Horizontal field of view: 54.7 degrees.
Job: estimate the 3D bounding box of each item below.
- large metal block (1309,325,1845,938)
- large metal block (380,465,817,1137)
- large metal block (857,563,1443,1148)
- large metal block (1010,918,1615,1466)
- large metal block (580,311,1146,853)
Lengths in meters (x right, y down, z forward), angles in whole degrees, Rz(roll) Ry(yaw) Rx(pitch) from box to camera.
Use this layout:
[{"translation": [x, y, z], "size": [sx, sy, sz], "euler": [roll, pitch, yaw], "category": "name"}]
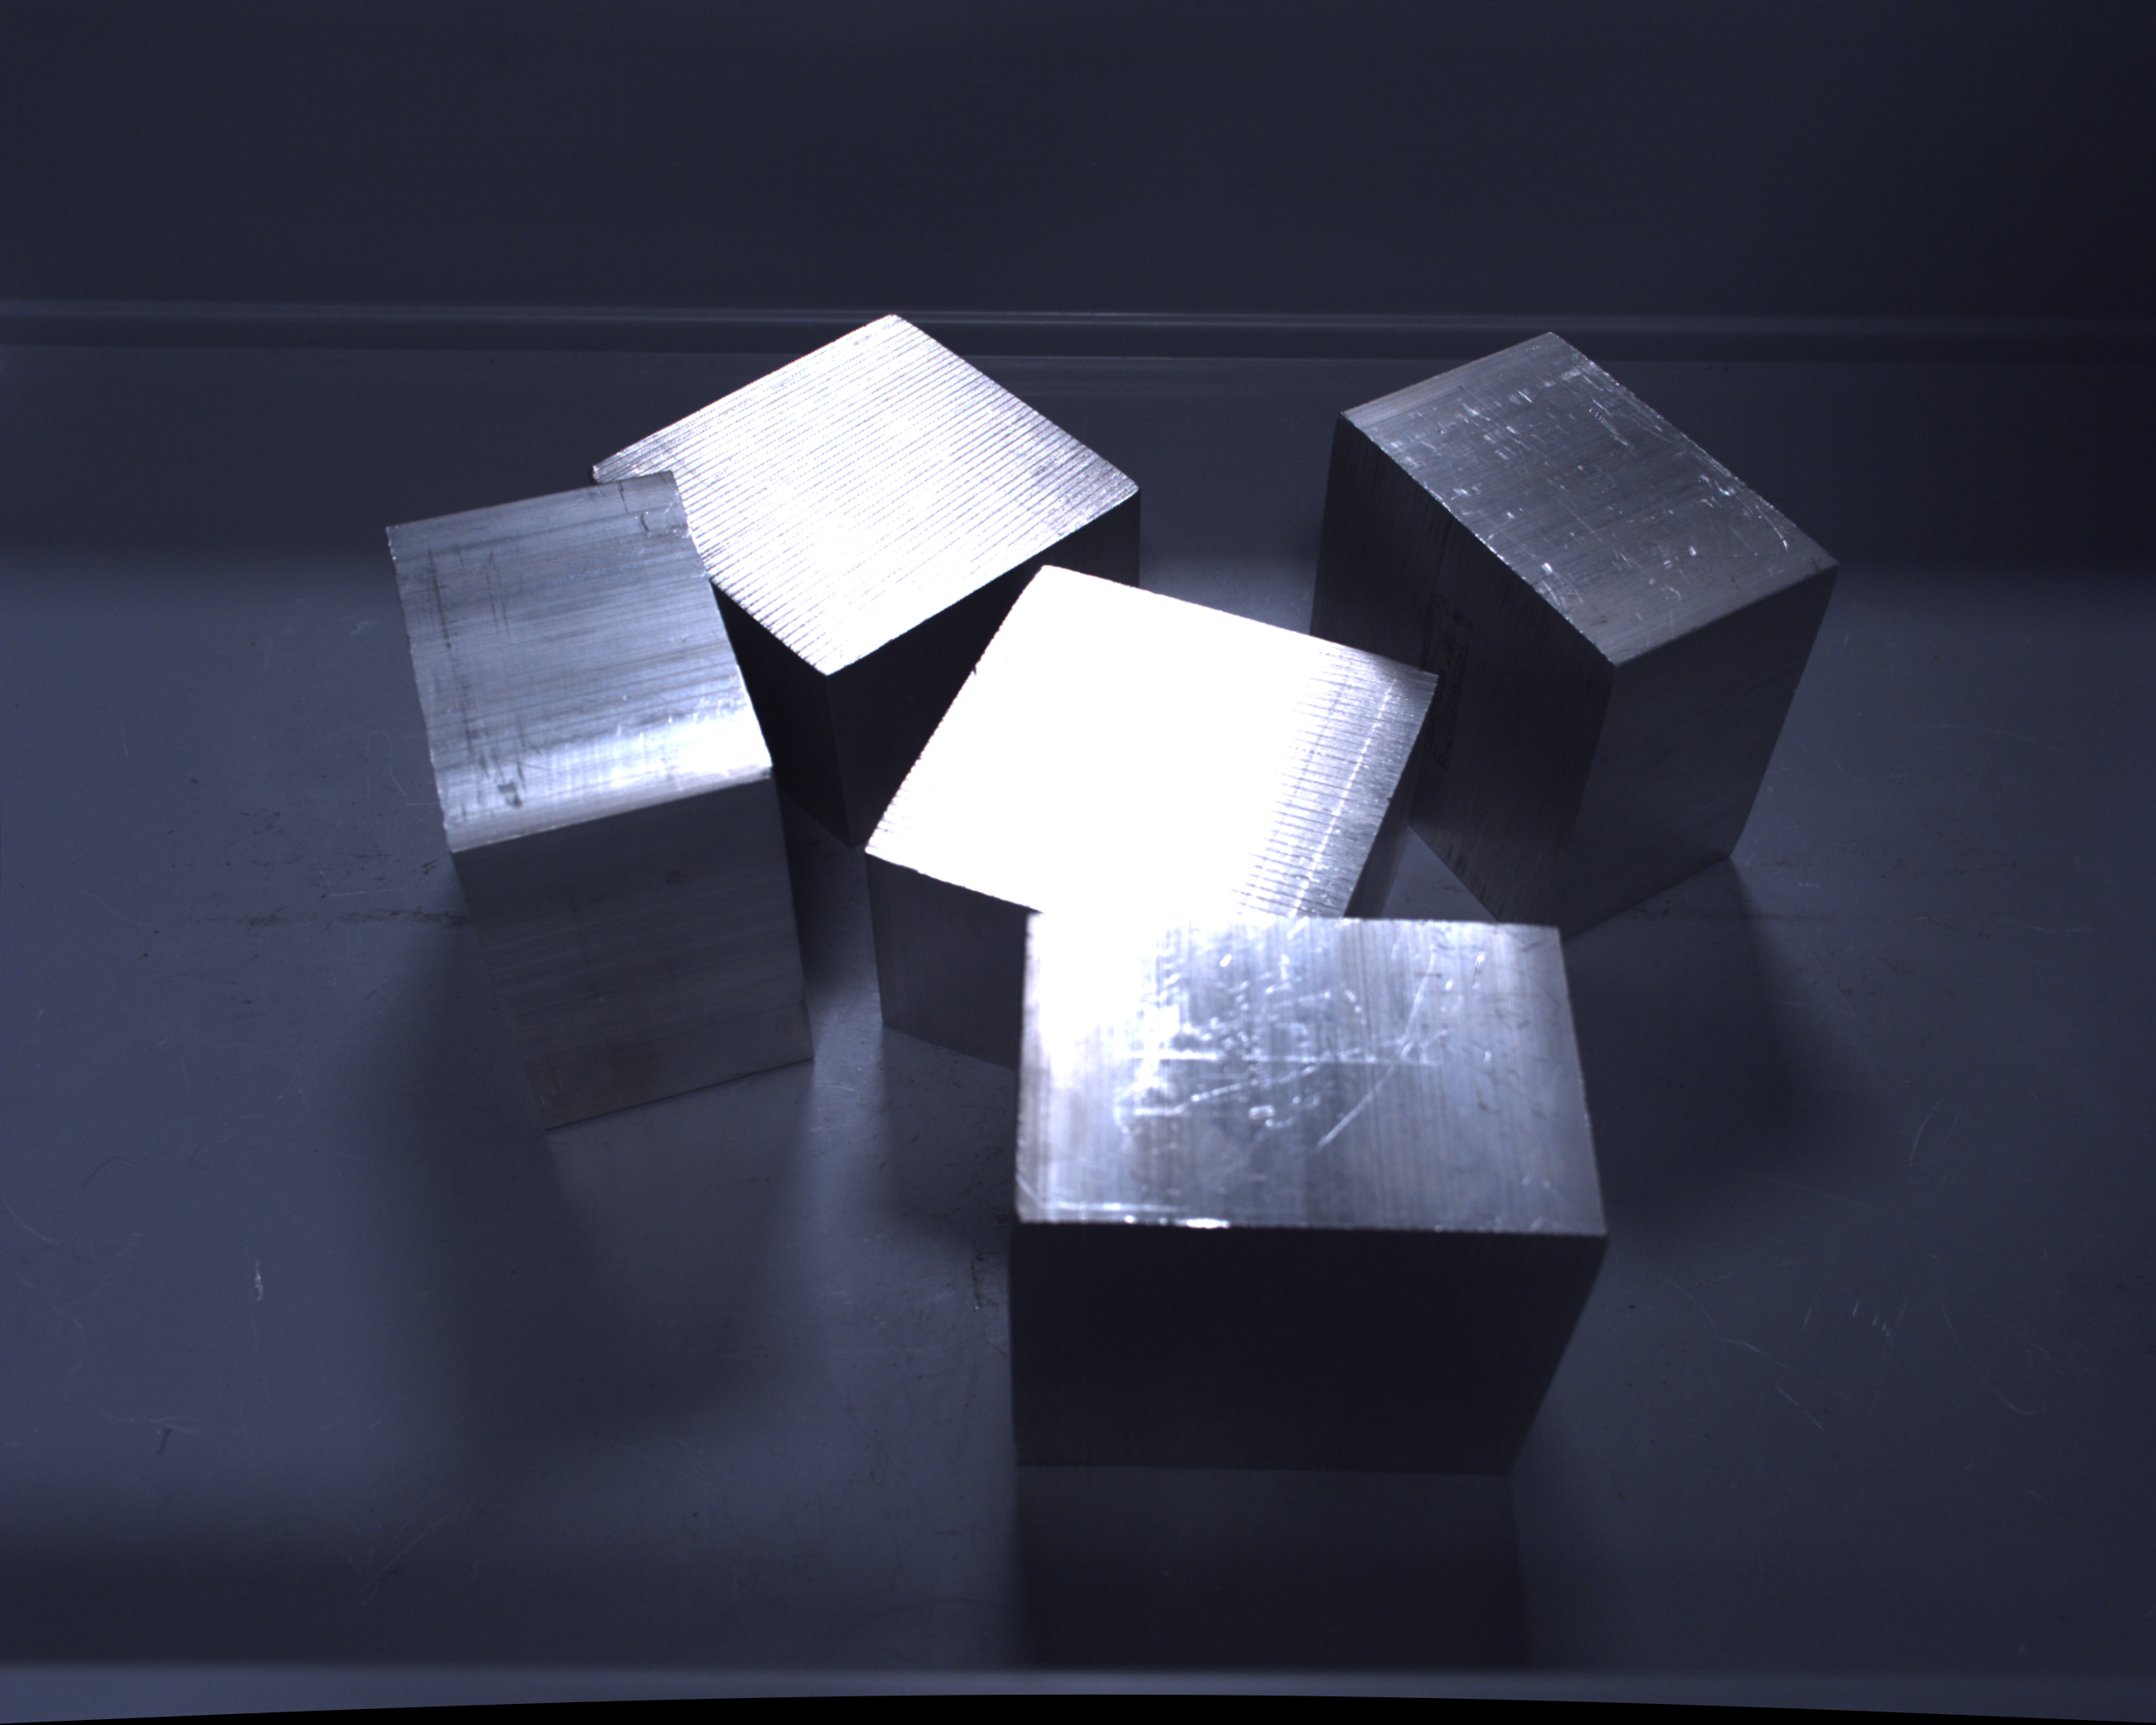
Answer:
[{"translation": [0.090, -0.043, 0.404], "size": [0.050, 0.080, 0.080], "euler": [-25, 55, -20], "category": "large metal block"}, {"translation": [-0.085, -0.011, 0.376], "size": [0.050, 0.080, 0.080], "euler": [-15, 52, -12], "category": "large metal block"}, {"translation": [0.015, -0.002, 0.389], "size": [0.080, 0.050, 0.080], "euler": [18, 52, 14], "category": "large metal block"}, {"translation": [0.031, 0.053, 0.324], "size": [0.081, 0.080, 0.050], "euler": [1, 50, 0], "category": "large metal block"}, {"translation": [-0.043, -0.061, 0.437], "size": [0.080, 0.050, 0.080], "euler": [-35, 59, -26], "category": "large metal block"}]
